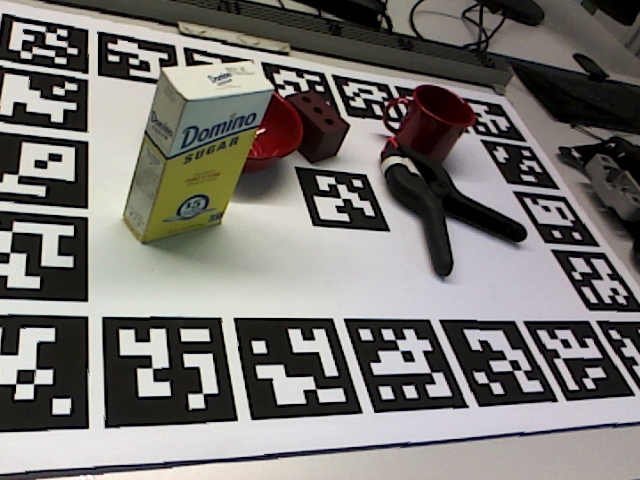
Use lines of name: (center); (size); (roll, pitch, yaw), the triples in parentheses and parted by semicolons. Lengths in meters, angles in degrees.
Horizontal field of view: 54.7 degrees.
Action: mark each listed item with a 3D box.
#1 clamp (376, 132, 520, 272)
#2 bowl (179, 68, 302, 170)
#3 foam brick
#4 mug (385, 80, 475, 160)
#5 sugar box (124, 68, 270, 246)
clamp: (0.141, -0.061, 0.791); (0.164, 0.036, 0.204); (-20, 61, -37)
bowl: (-0.105, -0.133, 0.730); (0.161, 0.055, 0.162); (15, 44, -15)
foam brick: (-0.009, -0.143, 0.800); (0.052, 0.051, 0.078); (-24, 64, -40)
mug: (0.146, -0.169, 0.870); (0.117, 0.081, 0.093); (24, 43, -9)
sugar box: (-0.118, -0.074, 0.578); (0.092, 0.176, 0.045); (-21, 63, -41)
